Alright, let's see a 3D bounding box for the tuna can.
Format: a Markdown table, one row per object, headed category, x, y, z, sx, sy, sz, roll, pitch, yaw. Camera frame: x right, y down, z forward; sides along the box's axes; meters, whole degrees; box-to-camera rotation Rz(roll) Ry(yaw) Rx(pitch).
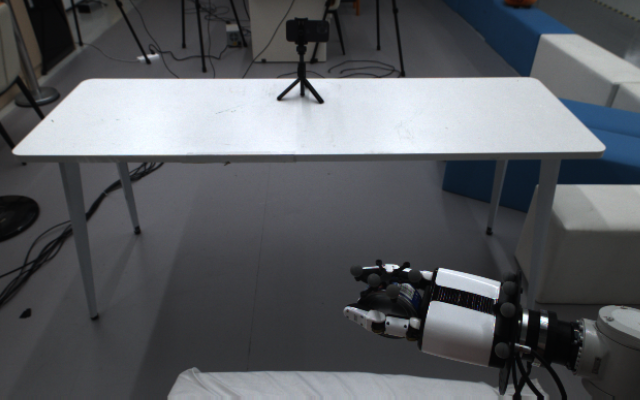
| category | x | y | z | sx | sy | sz | roll | pitch | yaw |
| --- | --- | --- | --- | --- | --- | --- | --- | --- | --- |
| tuna can | 0.100 | 0.146 | 0.663 | 0.085 | 0.085 | 0.034 | 15 | 34 | 18 |
